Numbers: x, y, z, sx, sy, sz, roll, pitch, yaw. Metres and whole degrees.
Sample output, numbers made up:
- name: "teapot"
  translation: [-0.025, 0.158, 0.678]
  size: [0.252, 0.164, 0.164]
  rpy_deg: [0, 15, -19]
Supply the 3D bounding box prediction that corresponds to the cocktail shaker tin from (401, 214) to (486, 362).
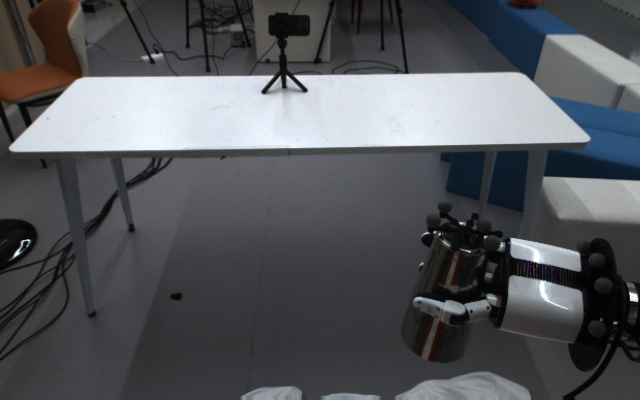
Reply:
- name: "cocktail shaker tin"
  translation: [0.164, 0.114, 0.620]
  size: [0.093, 0.170, 0.093]
  rpy_deg: [4, 31, -2]
